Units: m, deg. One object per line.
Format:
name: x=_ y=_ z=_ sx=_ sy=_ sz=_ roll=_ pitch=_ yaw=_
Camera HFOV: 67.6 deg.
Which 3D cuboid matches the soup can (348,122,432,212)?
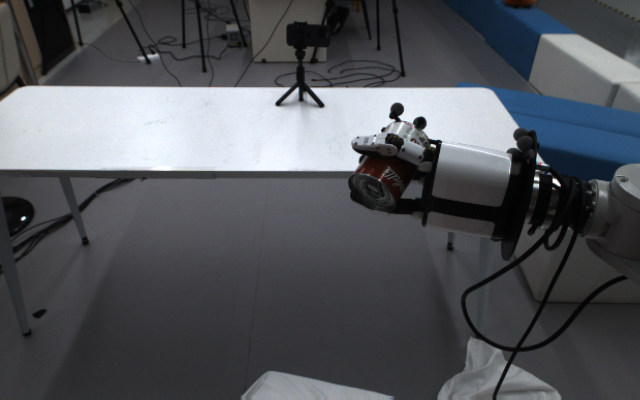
soup can: x=0.092 y=-0.045 z=0.619 sx=0.067 sy=0.067 sz=0.101 roll=22 pitch=60 yaw=26
